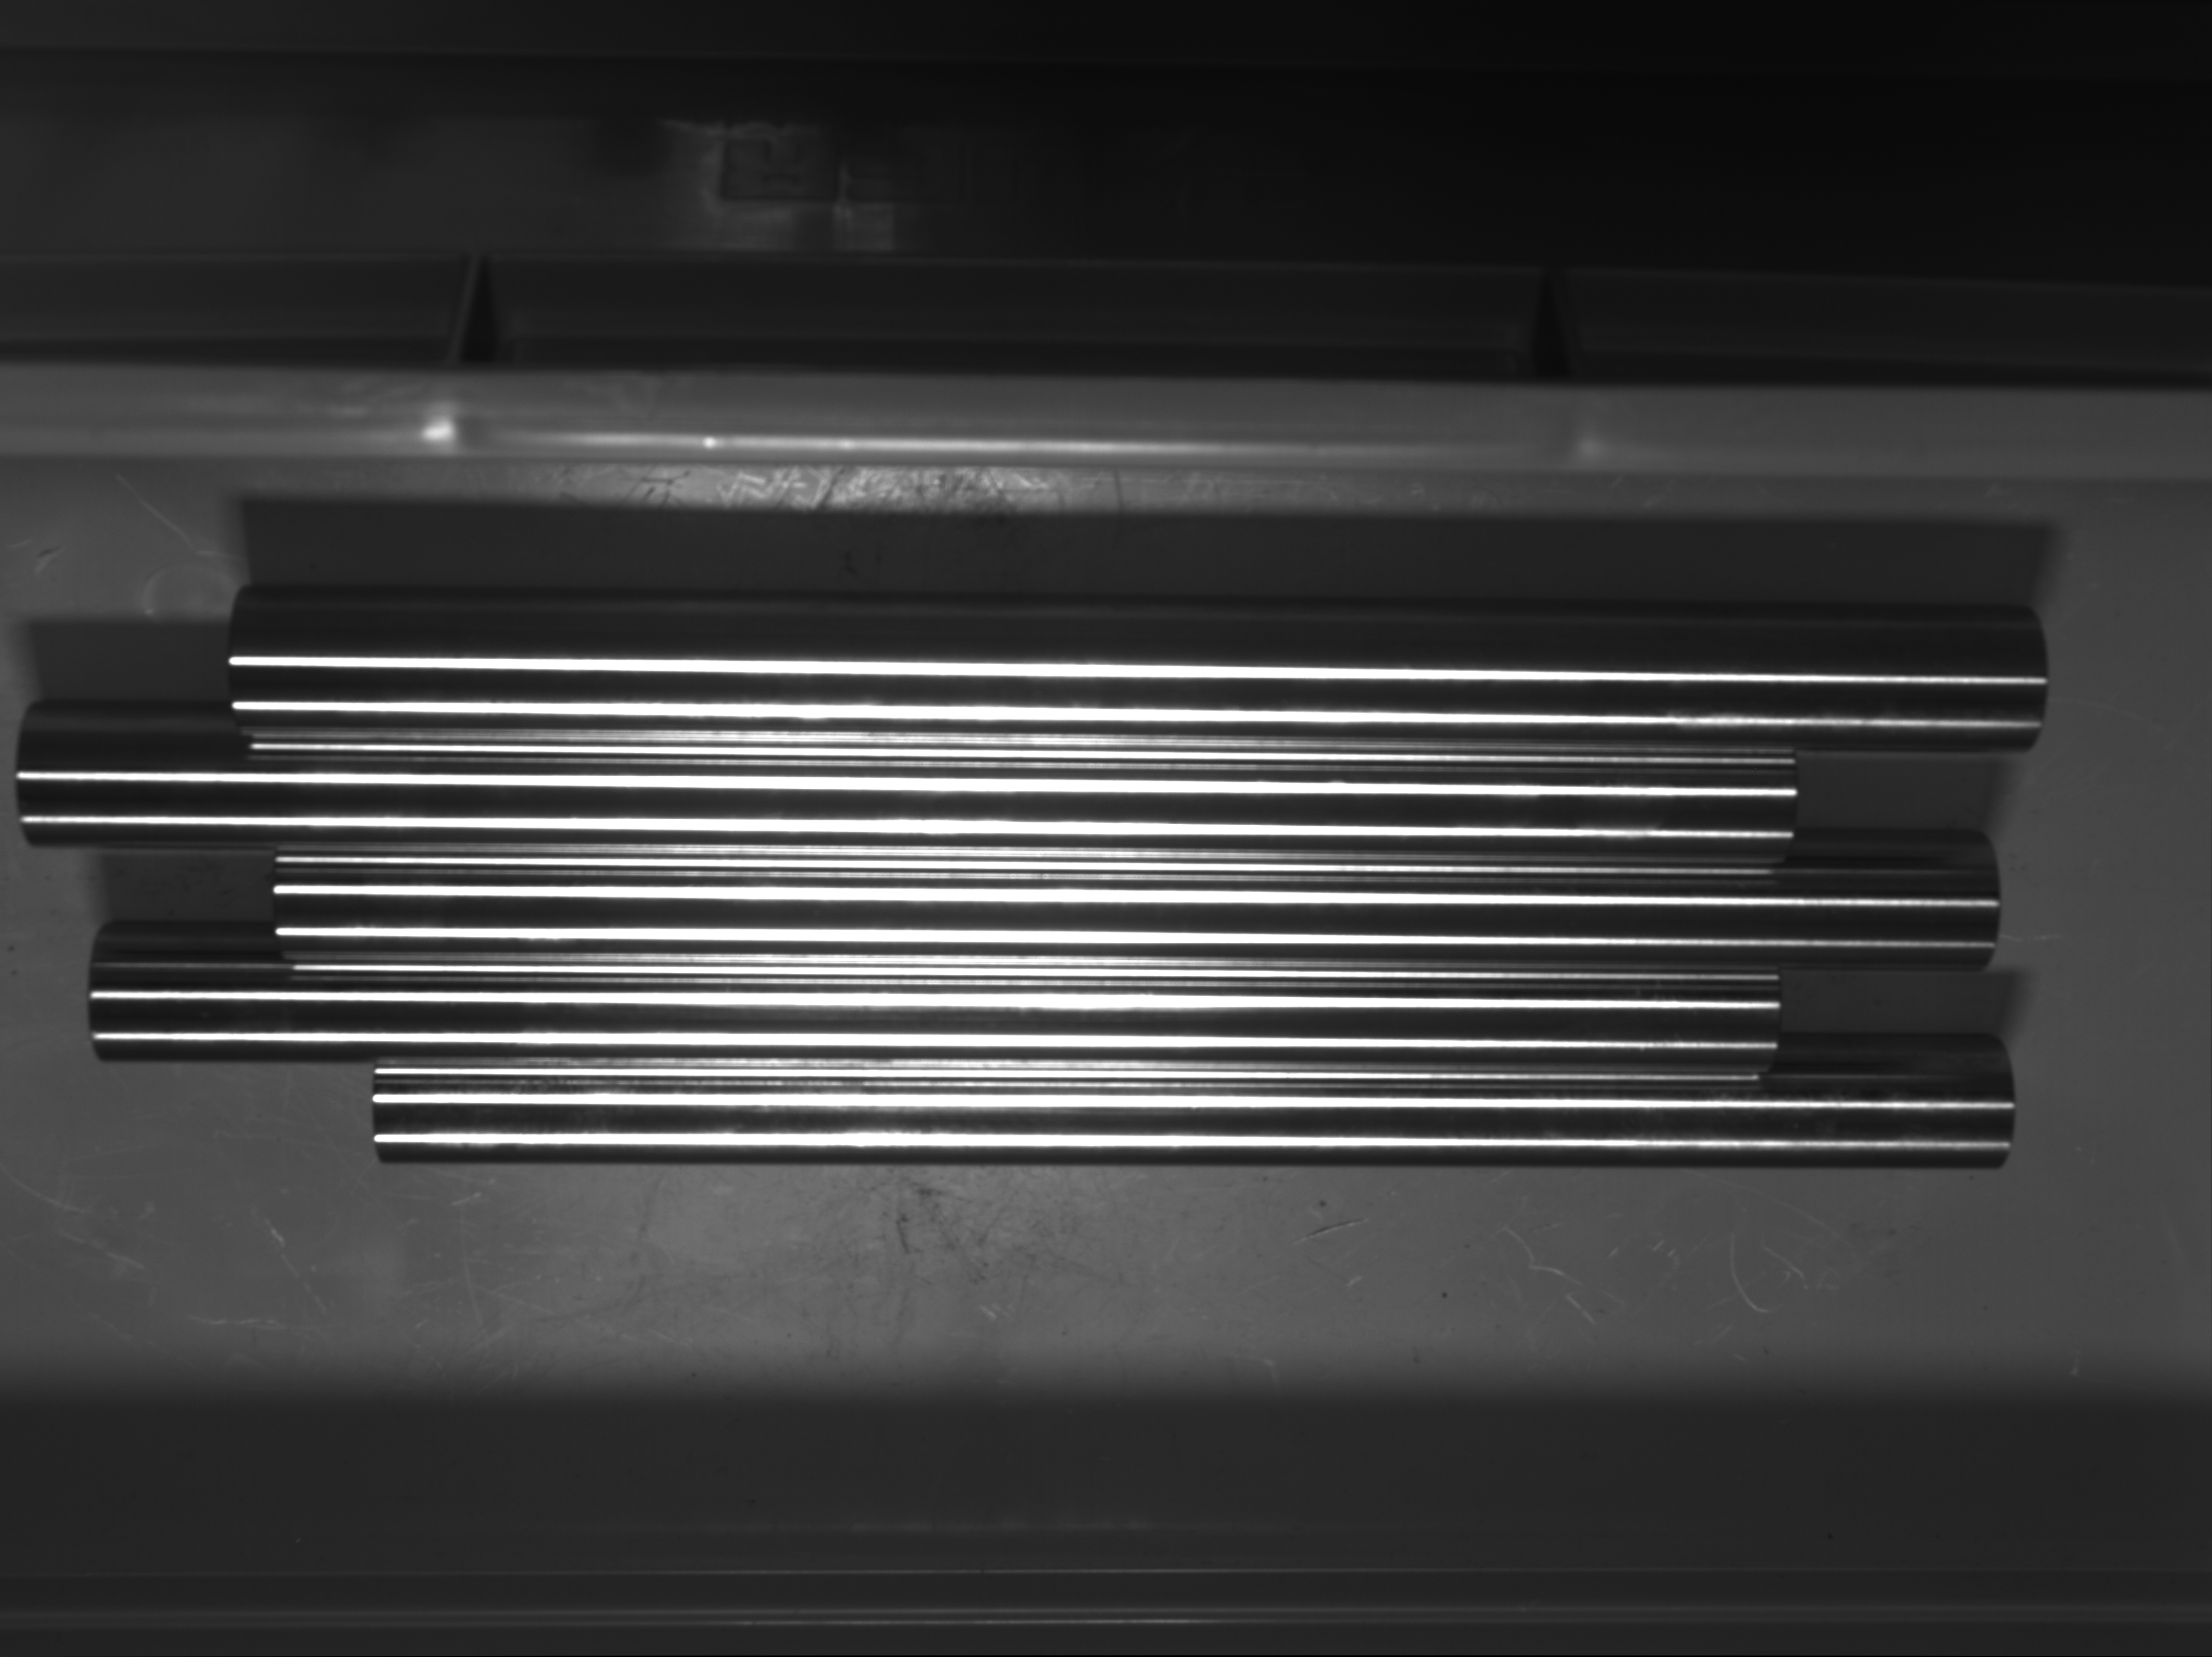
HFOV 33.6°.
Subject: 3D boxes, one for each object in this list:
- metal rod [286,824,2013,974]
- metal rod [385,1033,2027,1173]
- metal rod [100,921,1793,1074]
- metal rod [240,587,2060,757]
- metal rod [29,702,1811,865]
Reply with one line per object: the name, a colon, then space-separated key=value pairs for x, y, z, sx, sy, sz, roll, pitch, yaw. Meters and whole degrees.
metal rod: x=0.009 y=0.012 z=0.647 sx=0.300 sy=0.025 sz=0.025 roll=1 pitch=130 yaw=-2
metal rod: x=0.019 y=0.051 z=0.680 sx=0.300 sy=0.025 sz=0.025 roll=1 pitch=130 yaw=-2
metal rod: x=-0.027 y=0.031 z=0.662 sx=0.300 sy=0.025 sz=0.025 roll=1 pitch=130 yaw=-2
metal rod: x=0.008 y=-0.026 z=0.615 sx=0.300 sy=0.025 sz=0.025 roll=1 pitch=130 yaw=-2
metal rod: x=-0.030 y=-0.008 z=0.630 sx=0.300 sy=0.025 sz=0.025 roll=1 pitch=130 yaw=-2
